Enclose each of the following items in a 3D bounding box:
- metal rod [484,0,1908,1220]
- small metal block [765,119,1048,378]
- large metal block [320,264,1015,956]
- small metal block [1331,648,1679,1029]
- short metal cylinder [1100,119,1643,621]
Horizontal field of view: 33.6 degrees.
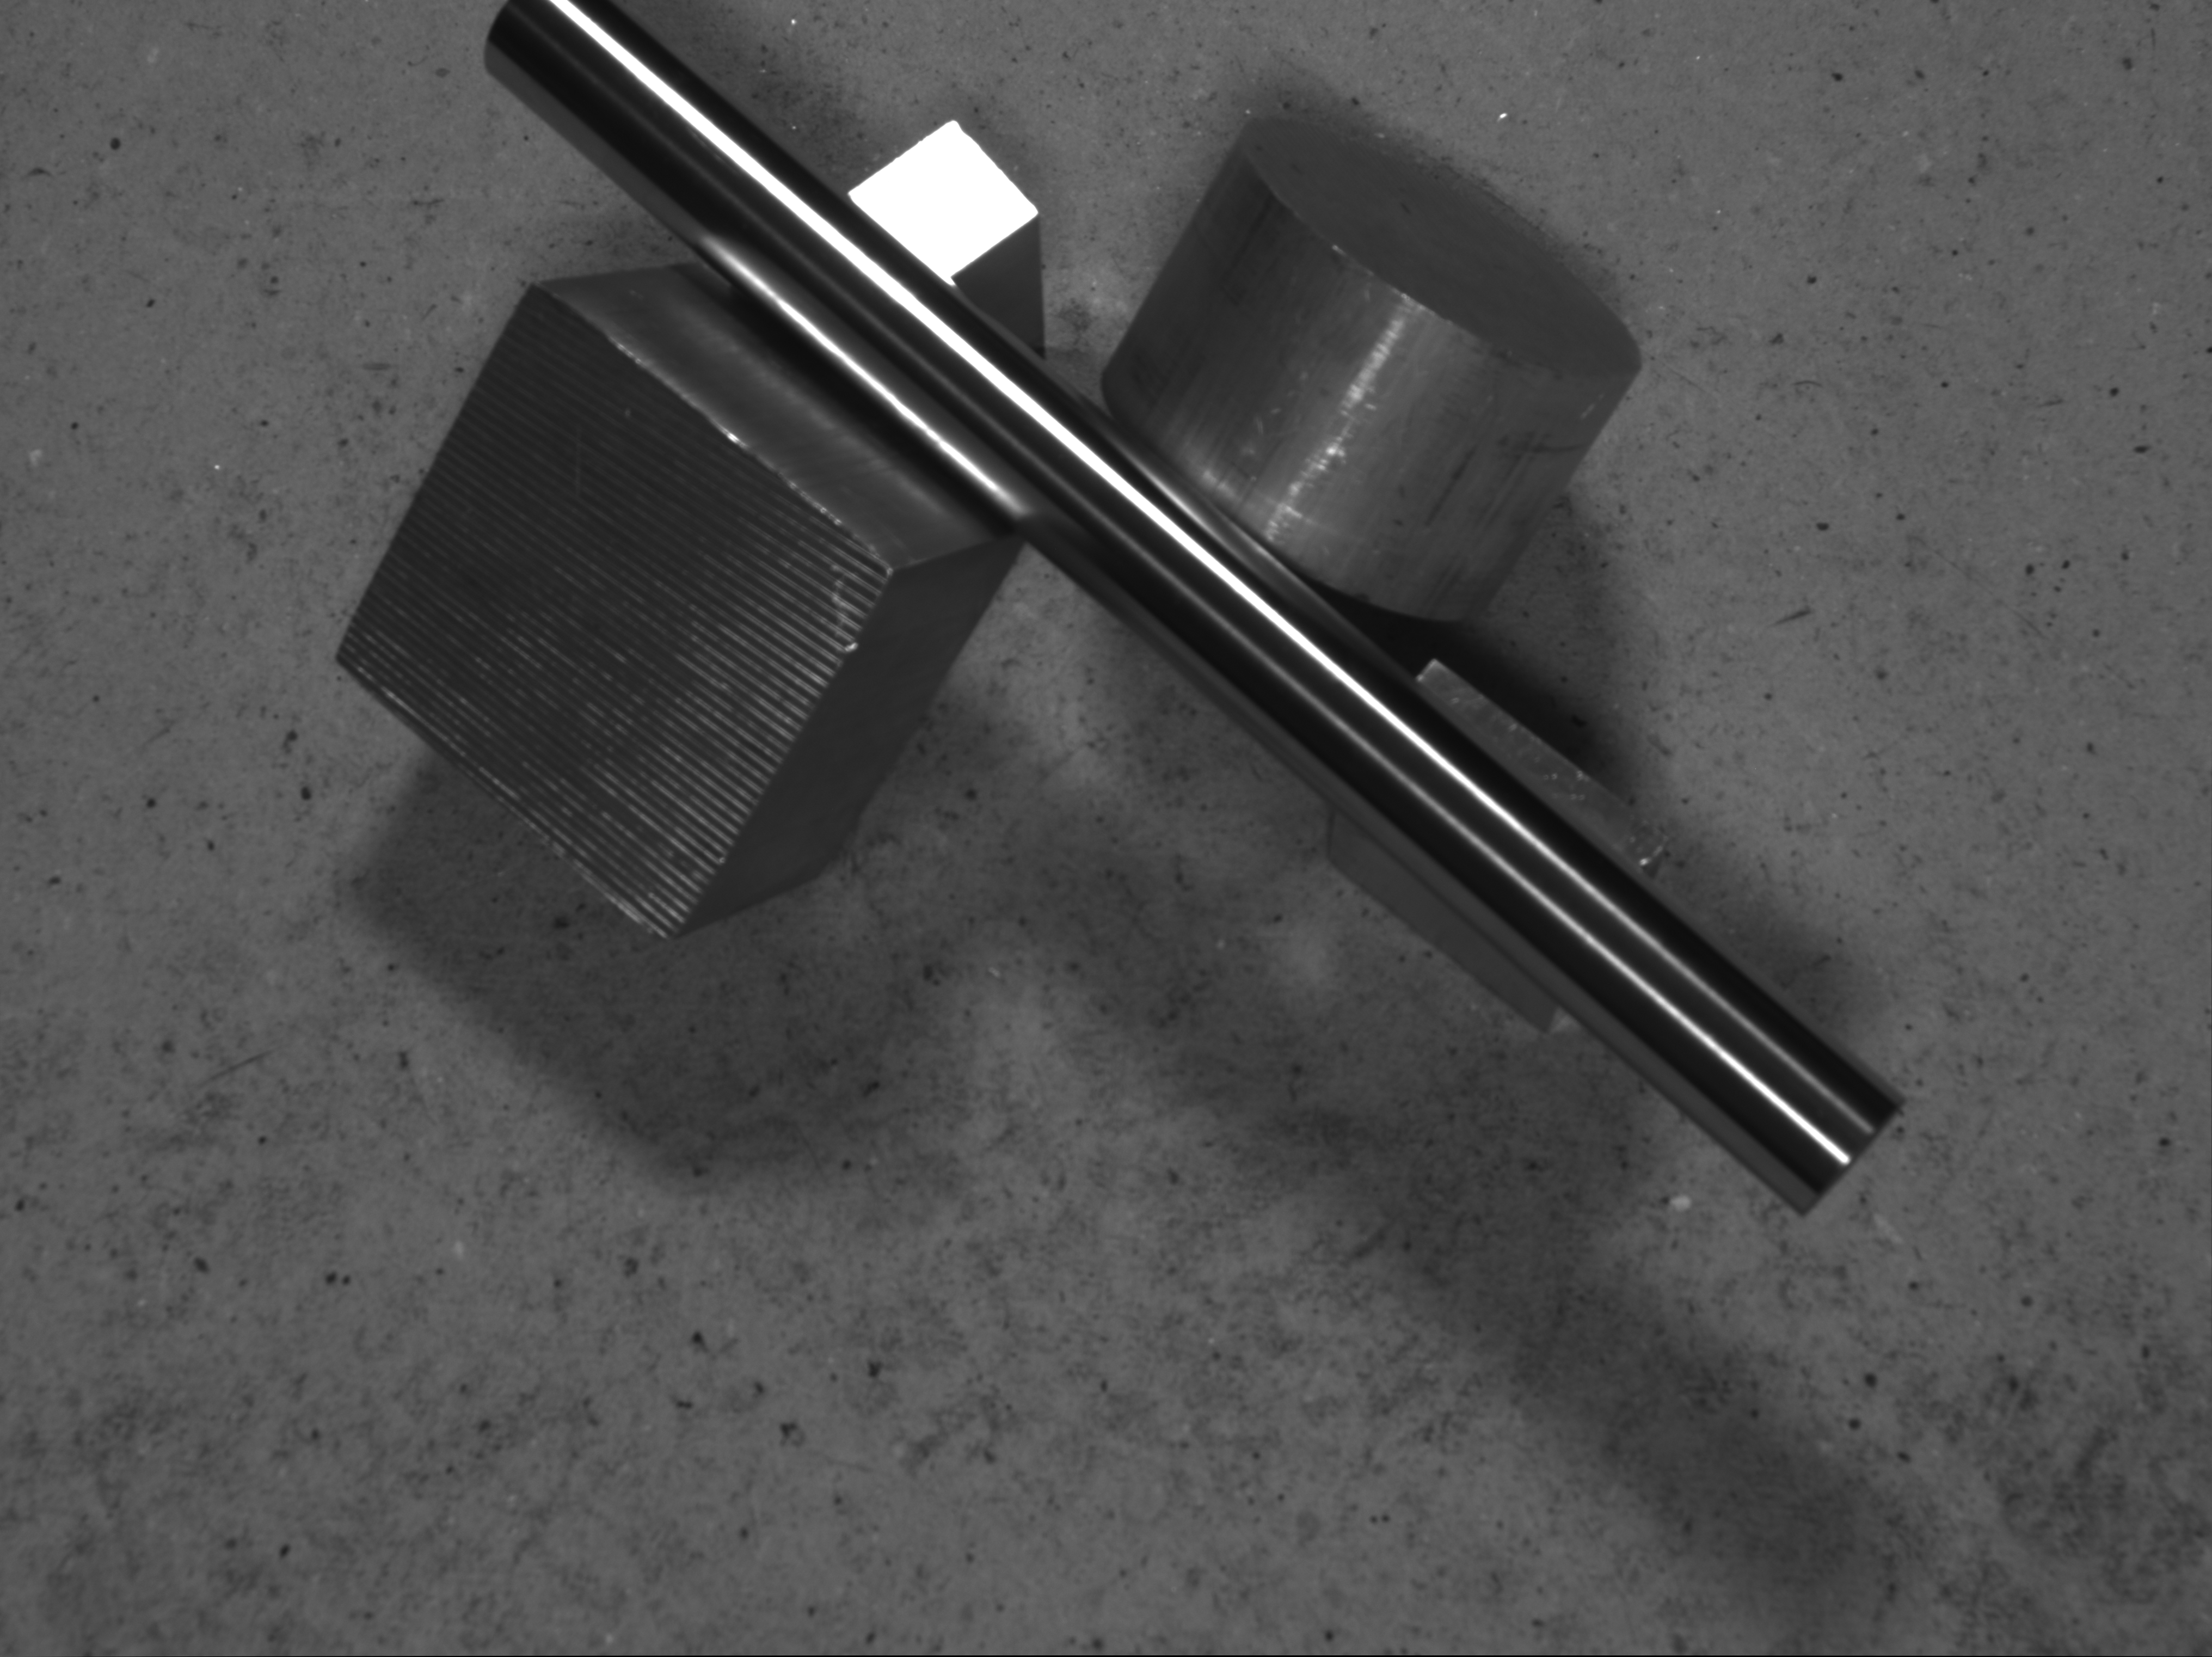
[{"bbox_3d":[0.009,-0.045,0.608,0.300,0.025,0.025,42,75,14],"label":"metal rod"},{"bbox_3d":[-0.038,-0.094,0.667,0.050,0.050,0.025,-37,74,-12],"label":"small metal block"},{"bbox_3d":[-0.075,-0.039,0.627,0.080,0.050,0.080,39,115,13],"label":"large metal block"},{"bbox_3d":[0.067,0.003,0.628,0.050,0.050,0.025,39,75,13],"label":"small metal block"},{"bbox_3d":[0.046,-0.080,0.639,0.080,0.080,0.050,37,115,13],"label":"short metal cylinder"}]
